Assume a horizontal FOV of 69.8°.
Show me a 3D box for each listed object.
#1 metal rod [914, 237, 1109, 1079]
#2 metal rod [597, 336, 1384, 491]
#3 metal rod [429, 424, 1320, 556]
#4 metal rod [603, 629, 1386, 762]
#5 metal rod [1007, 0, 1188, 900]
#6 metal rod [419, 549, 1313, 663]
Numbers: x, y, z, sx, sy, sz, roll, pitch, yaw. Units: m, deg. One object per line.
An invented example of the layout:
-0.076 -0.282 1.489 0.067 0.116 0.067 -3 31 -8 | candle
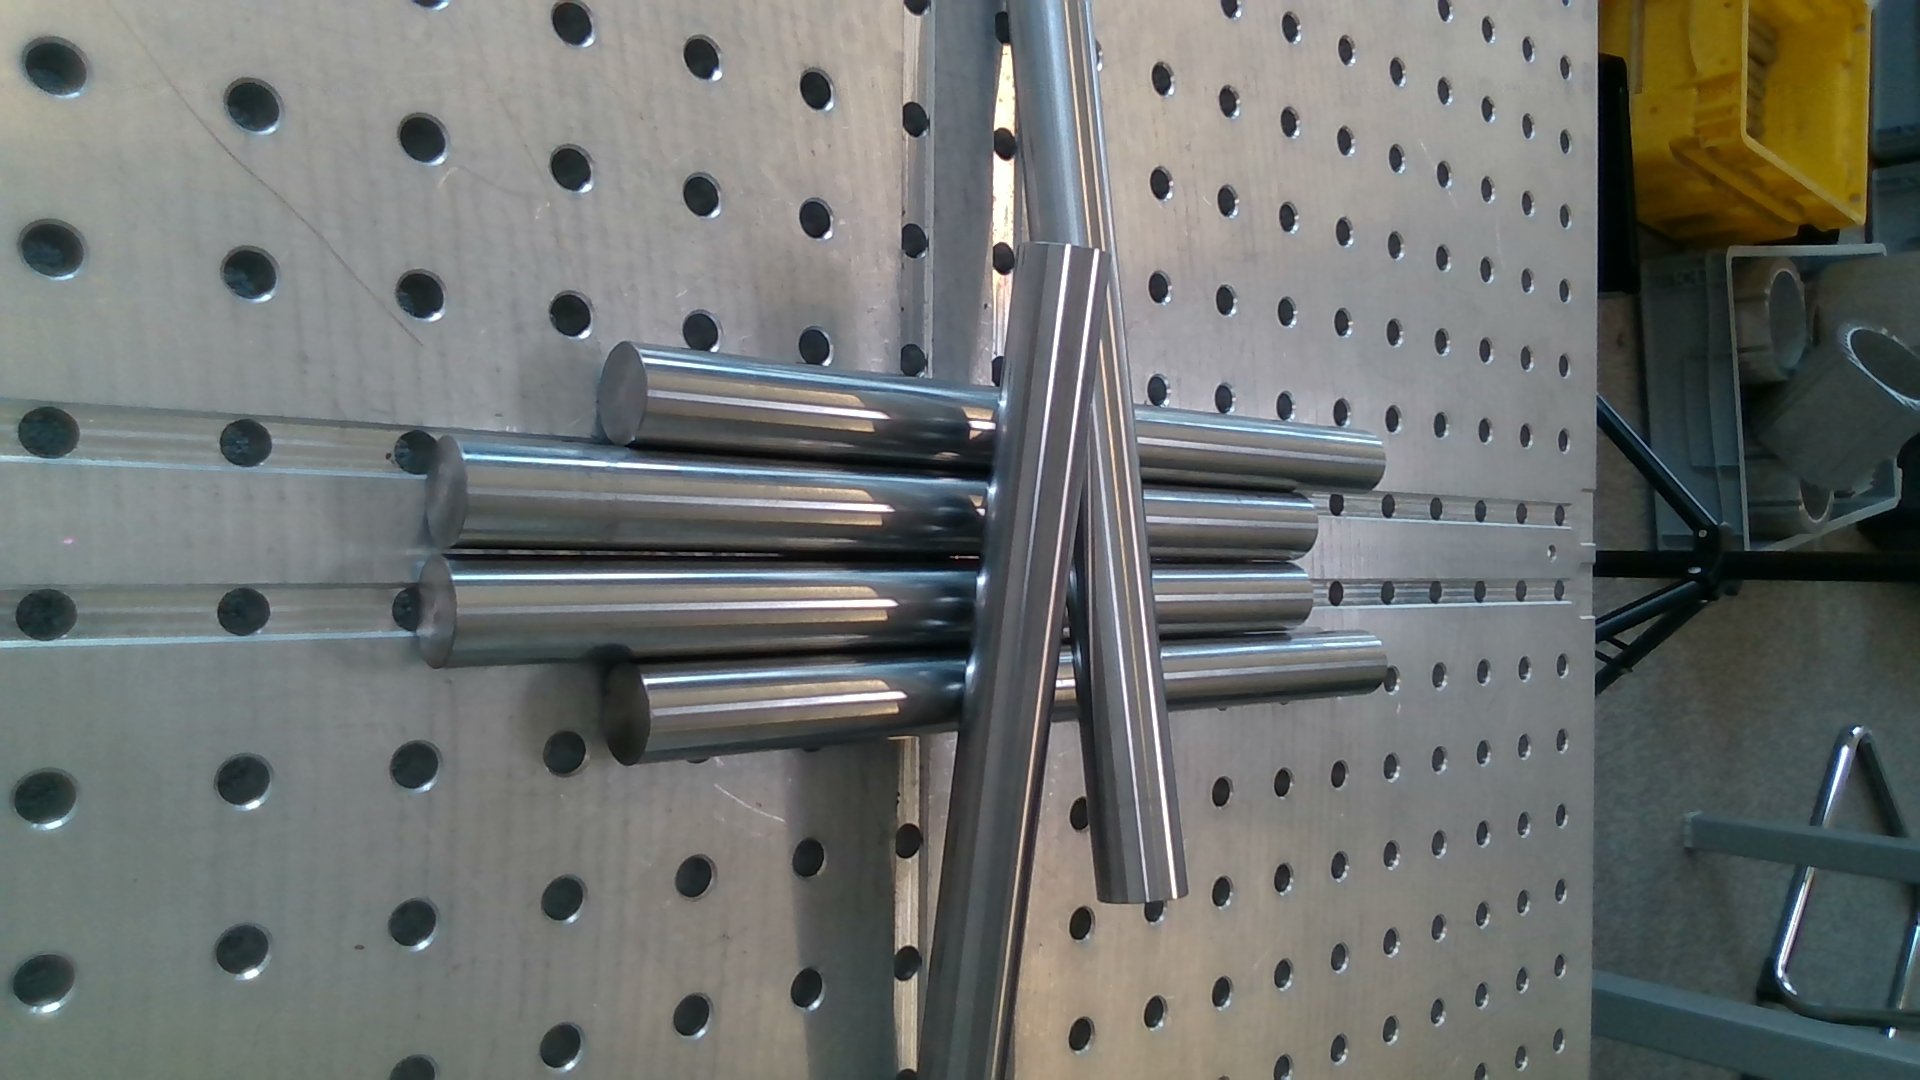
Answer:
0.009 0.071 0.375 0.025 0.025 0.300 2 97 -40 | metal rod
0.034 -0.033 0.422 0.300 0.025 0.025 1 89 -40 | metal rod
0.004 -0.009 0.396 0.300 0.025 0.025 2 89 -40 | metal rod
0.036 0.043 0.423 0.300 0.025 0.025 1 89 -40 | metal rod
0.036 -0.052 0.394 0.025 0.025 0.300 1 80 -40 | metal rod
0.001 0.017 0.396 0.300 0.025 0.025 1 89 -40 | metal rod
